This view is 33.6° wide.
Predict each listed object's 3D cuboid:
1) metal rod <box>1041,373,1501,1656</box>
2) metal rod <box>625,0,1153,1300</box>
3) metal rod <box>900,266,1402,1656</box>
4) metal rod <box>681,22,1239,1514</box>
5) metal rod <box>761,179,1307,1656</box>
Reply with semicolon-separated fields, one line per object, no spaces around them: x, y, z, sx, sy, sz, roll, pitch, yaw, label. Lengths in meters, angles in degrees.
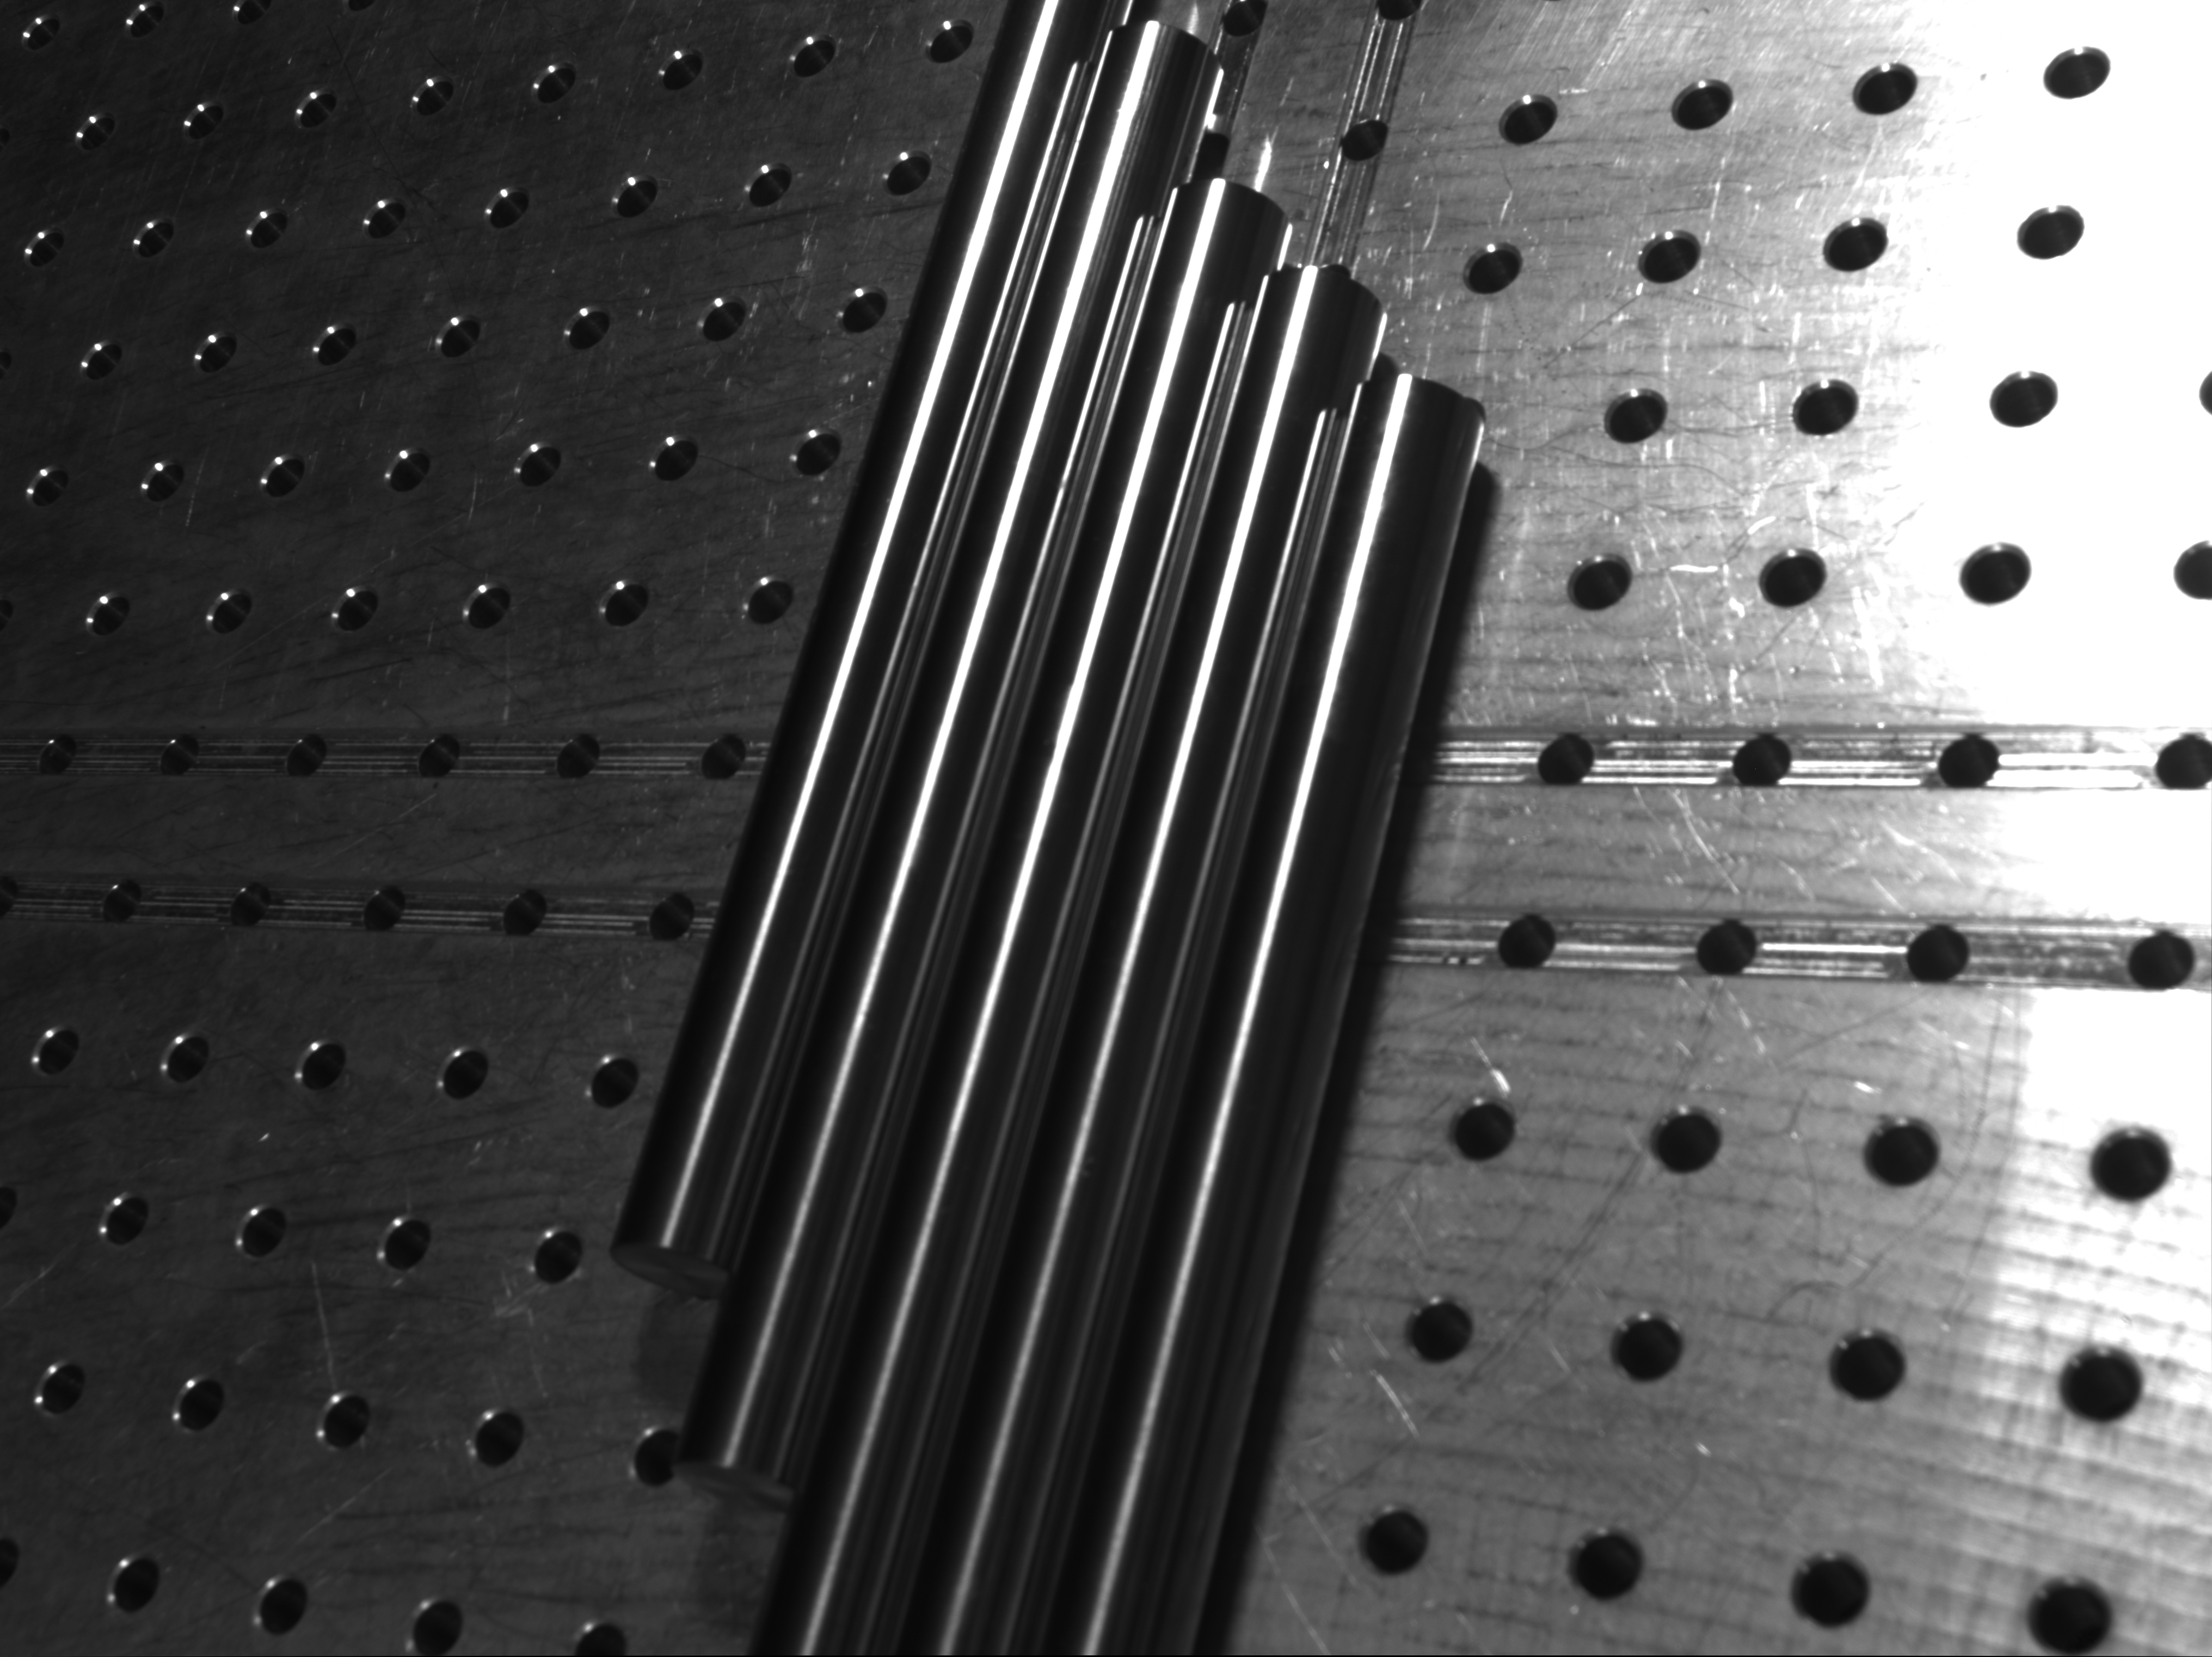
0.023;0.057;0.599;0.025;0.025;0.300;1;62;29;metal rod
-0.036;-0.054;0.700;0.025;0.025;0.300;1;62;29;metal rod
0.006;0.034;0.622;0.025;0.025;0.300;1;62;29;metal rod
-0.022;-0.022;0.672;0.025;0.025;0.300;1;62;29;metal rod
-0.010;0.015;0.643;0.025;0.025;0.300;1;62;29;metal rod
